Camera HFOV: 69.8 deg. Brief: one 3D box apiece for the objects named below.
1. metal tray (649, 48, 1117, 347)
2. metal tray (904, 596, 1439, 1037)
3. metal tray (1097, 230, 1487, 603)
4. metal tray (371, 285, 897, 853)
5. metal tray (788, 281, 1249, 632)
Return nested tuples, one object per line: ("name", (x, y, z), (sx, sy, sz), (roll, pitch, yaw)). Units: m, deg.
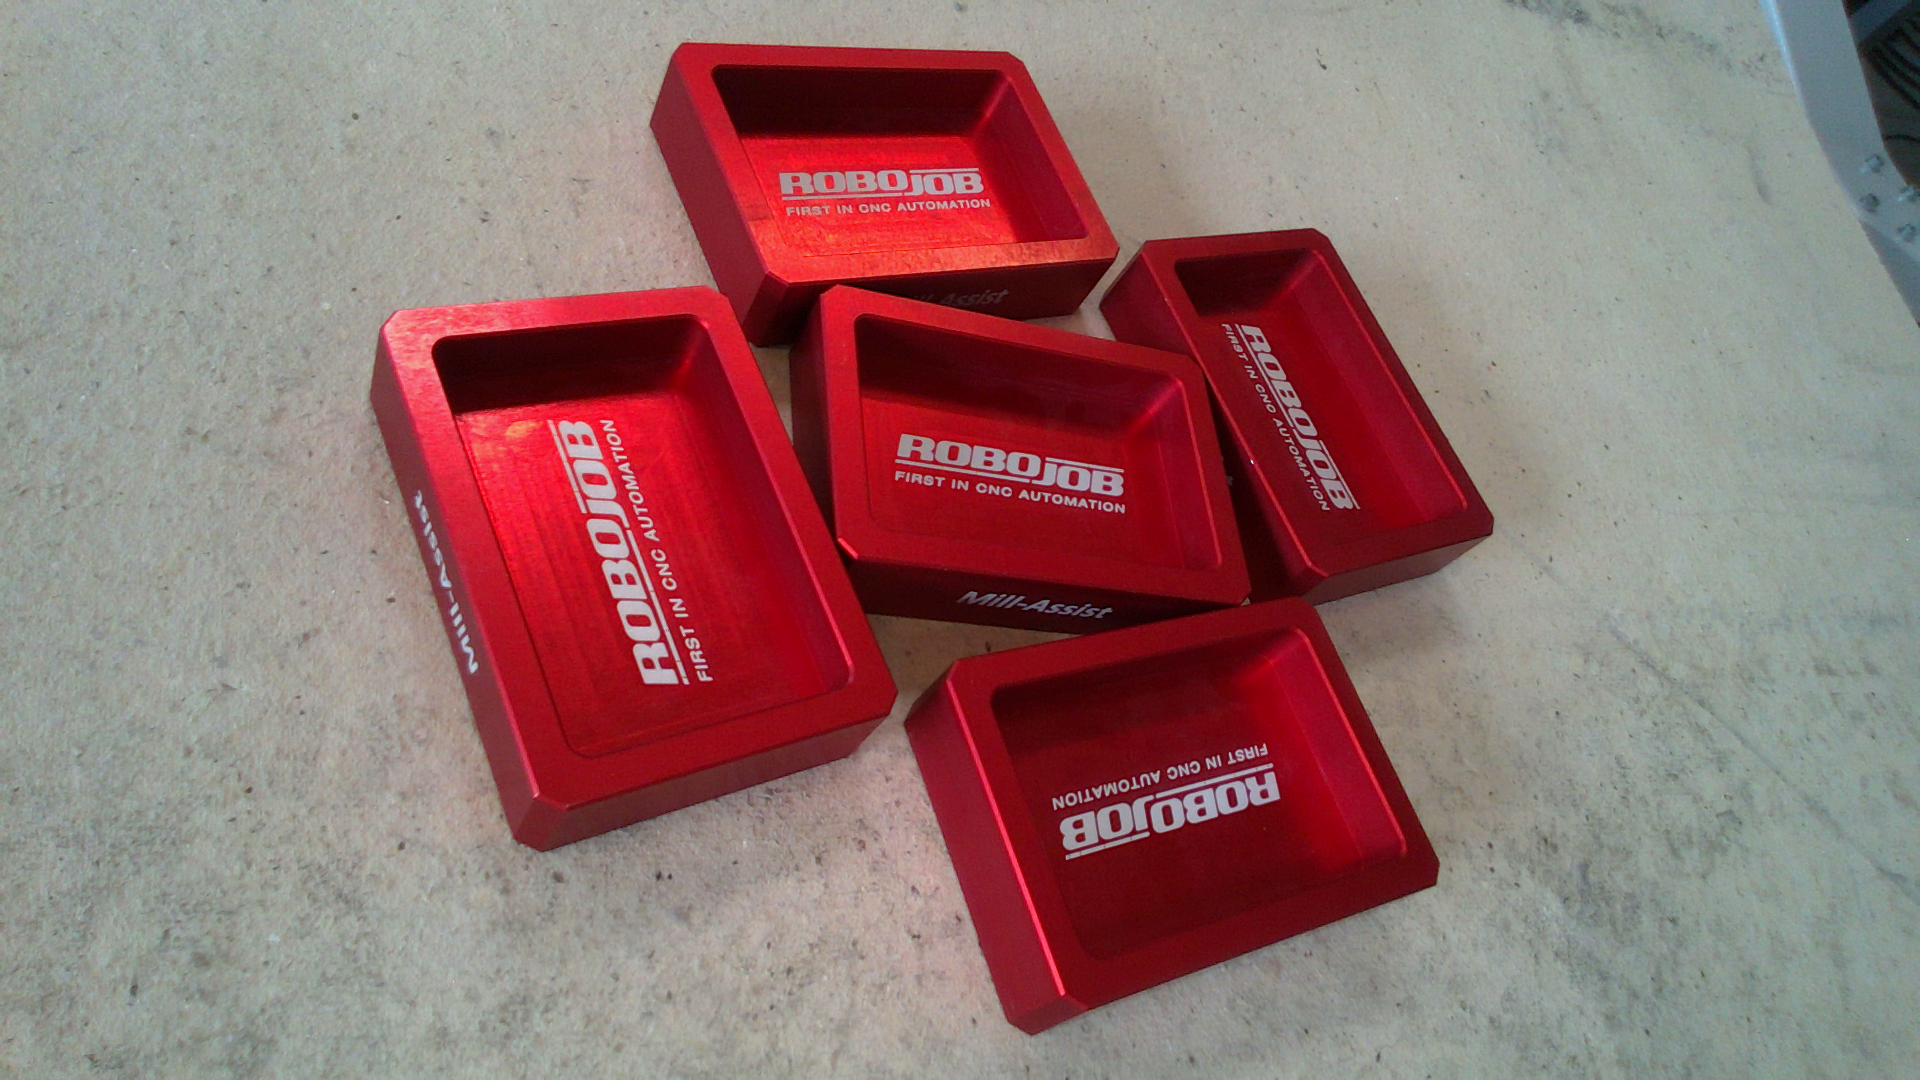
("metal tray", (-0.023, -0.113, 0.444), (0.130, 0.030, 0.090), (-12, 68, -32))
("metal tray", (0.059, 0.070, 0.375), (0.130, 0.030, 0.090), (-8, 65, -31))
("metal tray", (0.114, -0.045, 0.476), (0.090, 0.030, 0.130), (-12, 68, -32))
("metal tray", (-0.082, 0.001, 0.342), (0.090, 0.030, 0.130), (-13, 68, -33))
("metal tray", (0.017, -0.021, 0.408), (0.130, 0.030, 0.090), (7, 60, -24))
